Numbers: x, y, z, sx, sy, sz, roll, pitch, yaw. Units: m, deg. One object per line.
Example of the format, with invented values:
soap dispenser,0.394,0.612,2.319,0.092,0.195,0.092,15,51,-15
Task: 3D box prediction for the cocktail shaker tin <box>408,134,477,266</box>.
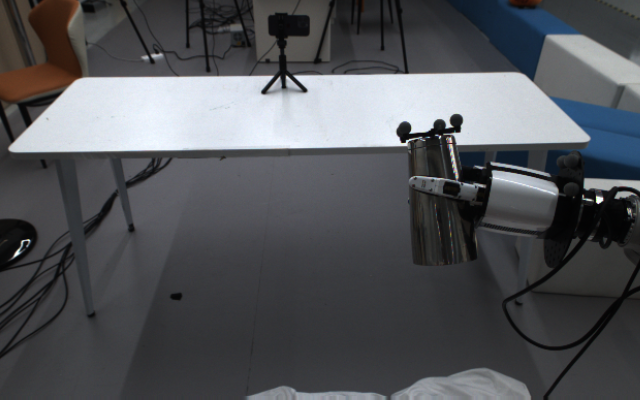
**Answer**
cocktail shaker tin,0.166,-0.001,0.678,0.093,0.170,0.093,-8,1,0
